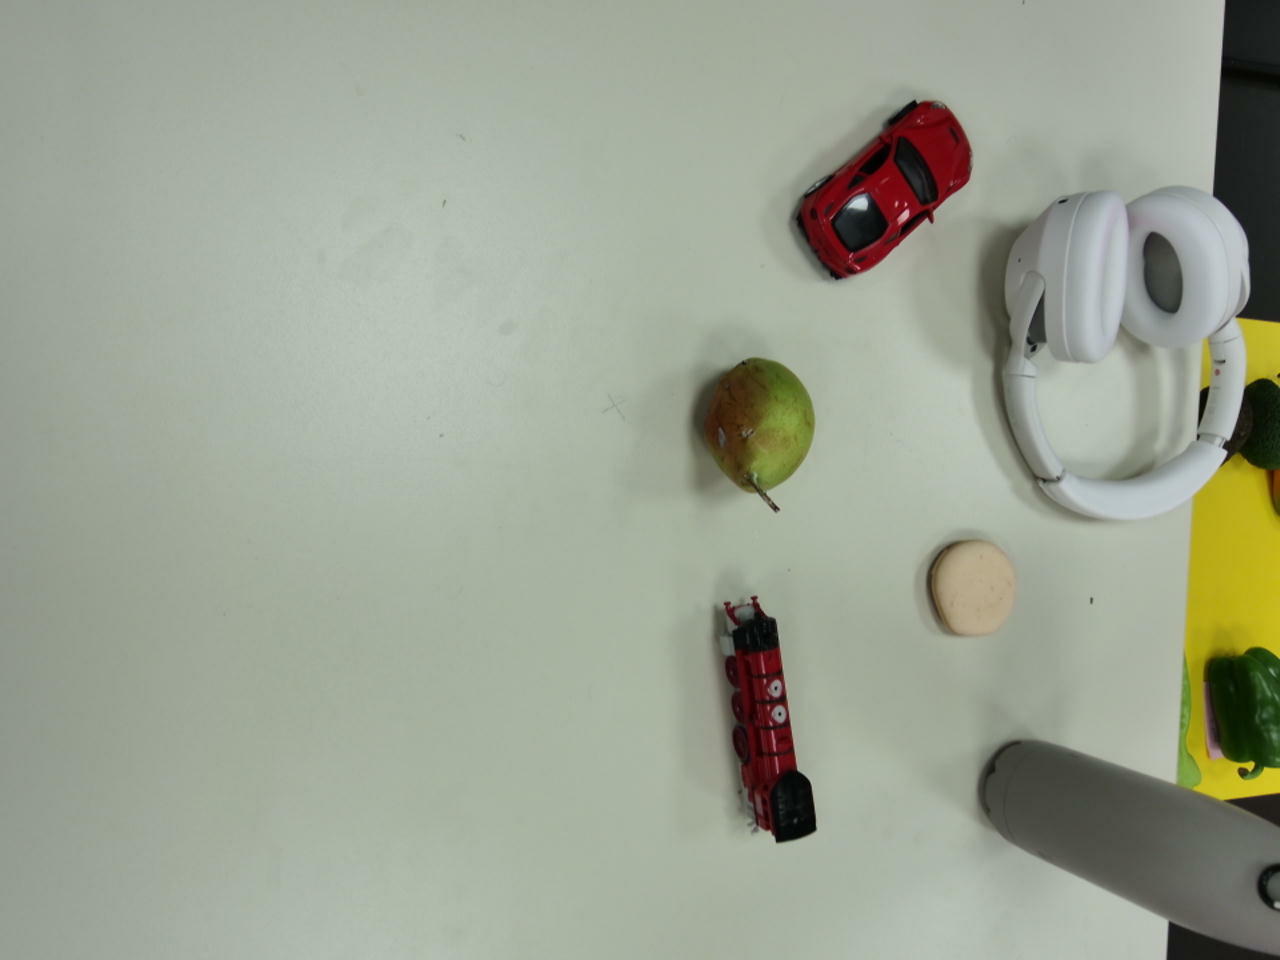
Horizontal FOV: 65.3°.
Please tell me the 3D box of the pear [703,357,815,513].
[{"bbox_3d":[0.066,-0.030,0.556,0.070,0.069,0.068,-36,103,-18],"label":"pear"}]
